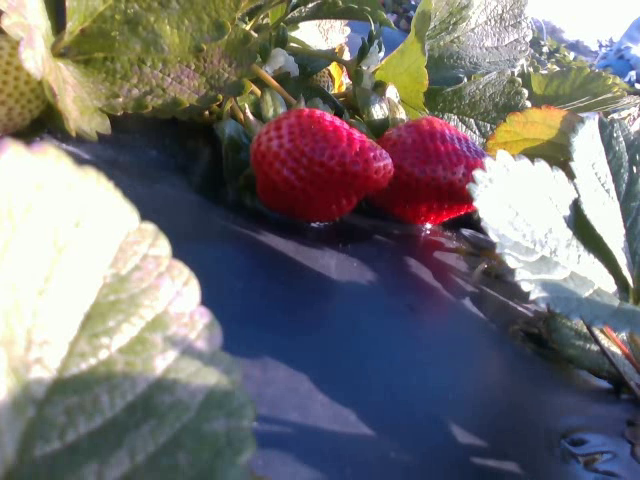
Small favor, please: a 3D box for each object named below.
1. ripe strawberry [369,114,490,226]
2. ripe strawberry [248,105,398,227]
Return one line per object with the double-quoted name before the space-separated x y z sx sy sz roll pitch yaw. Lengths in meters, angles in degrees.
"ripe strawberry" 0.045 -0.021 0.211 0.058 0.046 0.052 19 41 40
"ripe strawberry" 0.002 -0.021 0.176 0.052 0.037 0.043 17 47 34
